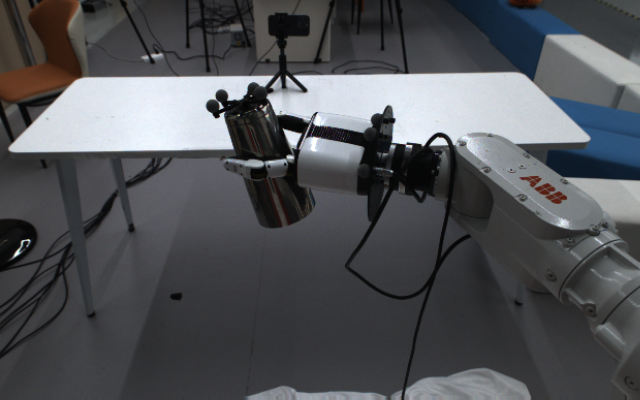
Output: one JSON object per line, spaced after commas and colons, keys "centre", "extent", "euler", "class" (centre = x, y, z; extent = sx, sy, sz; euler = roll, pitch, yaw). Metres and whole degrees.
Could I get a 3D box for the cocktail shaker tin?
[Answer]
{"centre": [-0.075, -0.055, 0.693], "extent": [0.093, 0.170, 0.093], "euler": [-15, 29, 8], "class": "cocktail shaker tin"}
